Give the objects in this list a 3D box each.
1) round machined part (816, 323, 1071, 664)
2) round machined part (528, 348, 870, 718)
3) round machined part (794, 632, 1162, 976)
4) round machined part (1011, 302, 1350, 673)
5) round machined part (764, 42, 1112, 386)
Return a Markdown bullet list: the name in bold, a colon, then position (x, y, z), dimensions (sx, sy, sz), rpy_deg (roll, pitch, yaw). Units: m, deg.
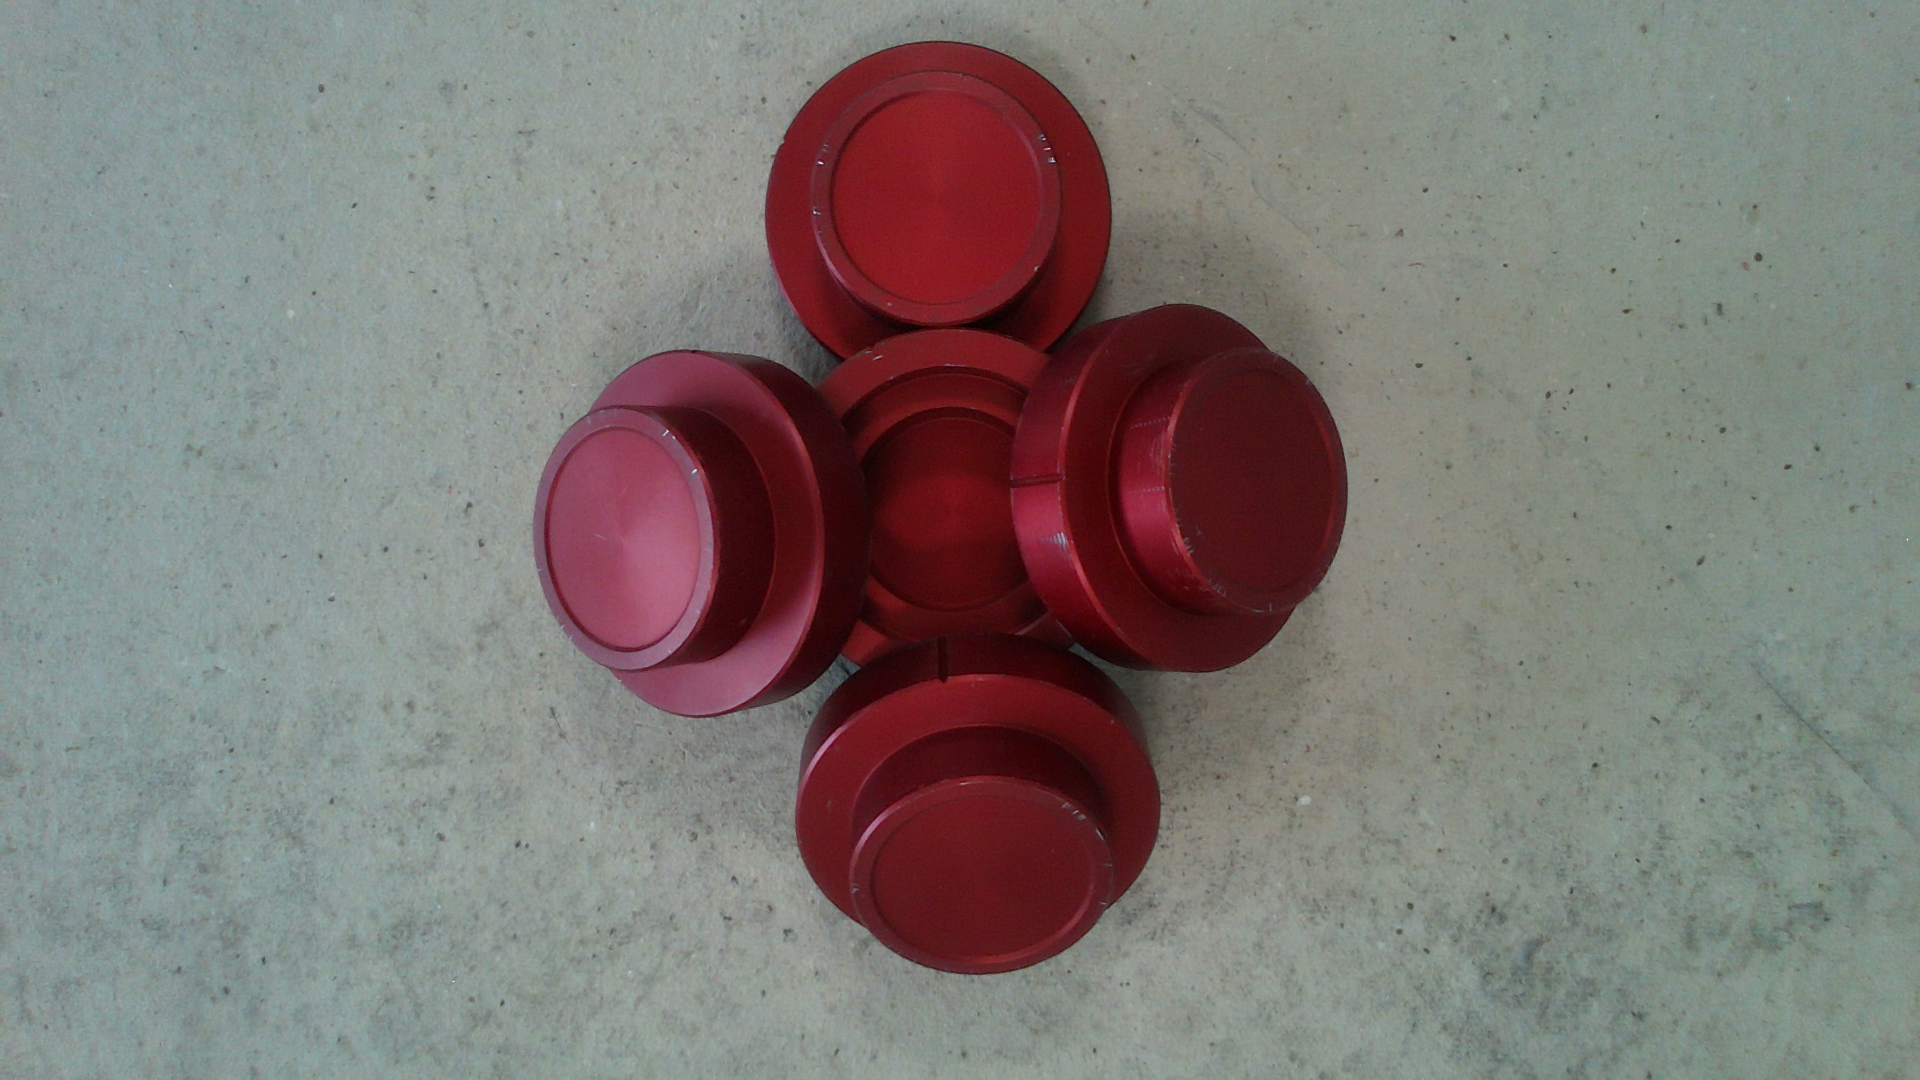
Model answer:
- **round machined part**: position (-0.001, -0.009, 0.387), dimensions (0.098, 0.042, 0.098), rpy_deg (0, 89, 2)
- **round machined part**: position (-0.075, -0.001, 0.363), dimensions (0.098, 0.042, 0.098), rpy_deg (3, 96, 33)
- **round machined part**: position (0.005, 0.076, 0.366), dimensions (0.098, 0.042, 0.098), rpy_deg (-1, 120, -2)
- **round machined part**: position (0.064, -0.014, 0.362), dimensions (0.098, 0.042, 0.098), rpy_deg (3, 85, -36)
- **round machined part**: position (-0.006, -0.092, 0.386), dimensions (0.098, 0.042, 0.098), rpy_deg (0, 89, 0)
